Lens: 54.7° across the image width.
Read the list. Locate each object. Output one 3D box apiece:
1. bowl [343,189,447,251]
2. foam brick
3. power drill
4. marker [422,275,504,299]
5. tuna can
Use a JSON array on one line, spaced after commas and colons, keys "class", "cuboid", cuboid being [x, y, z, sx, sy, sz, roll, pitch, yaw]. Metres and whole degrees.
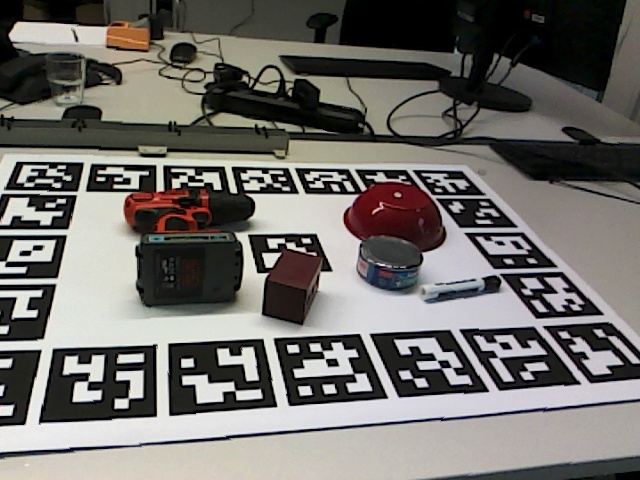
[{"class": "bowl", "cuboid": [0.117, -0.039, 0.951, 0.161, 0.055, 0.162, 2, 24, -1]}, {"class": "foam brick", "cuboid": [-0.029, 0.060, 0.744, 0.051, 0.052, 0.078, 13, 32, 6]}, {"class": "power drill", "cuboid": [-0.164, -0.002, 0.808, 0.184, 0.057, 0.188, 2, 28, -17]}, {"class": "marker", "cuboid": [0.190, 0.062, 0.811, 0.120, 0.019, 0.020, -6, 35, -23]}, {"class": "tuna can", "cuboid": [0.097, 0.029, 0.831, 0.085, 0.033, 0.086, 8, 30, -5]}]
